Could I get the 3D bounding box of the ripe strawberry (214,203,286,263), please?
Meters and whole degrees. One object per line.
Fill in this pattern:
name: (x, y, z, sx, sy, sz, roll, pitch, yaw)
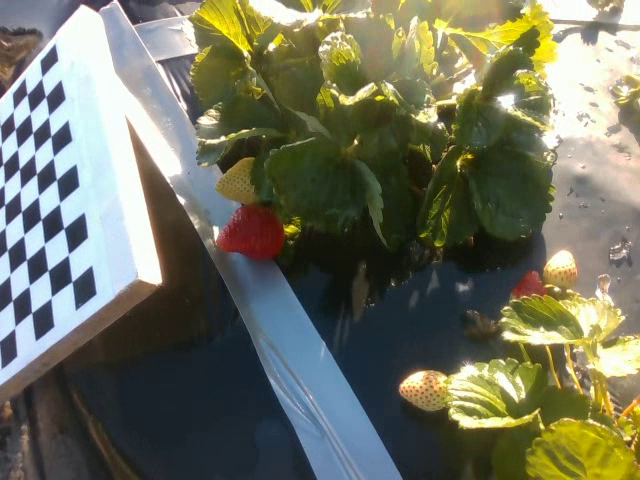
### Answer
ripe strawberry: (-0.051, -0.005, 0.419, 0.045, 0.049, 0.063, -11, 7, 37)
